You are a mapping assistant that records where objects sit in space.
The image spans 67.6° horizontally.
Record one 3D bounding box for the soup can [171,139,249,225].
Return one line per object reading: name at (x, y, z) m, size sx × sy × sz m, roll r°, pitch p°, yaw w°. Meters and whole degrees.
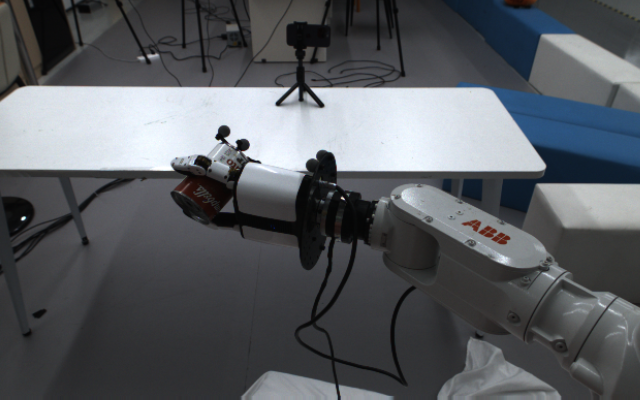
soup can at (-0.150, -0.024, 0.680) m, size 0.067 × 0.067 × 0.101 m, roll 23°, pitch 61°, yaw 27°
